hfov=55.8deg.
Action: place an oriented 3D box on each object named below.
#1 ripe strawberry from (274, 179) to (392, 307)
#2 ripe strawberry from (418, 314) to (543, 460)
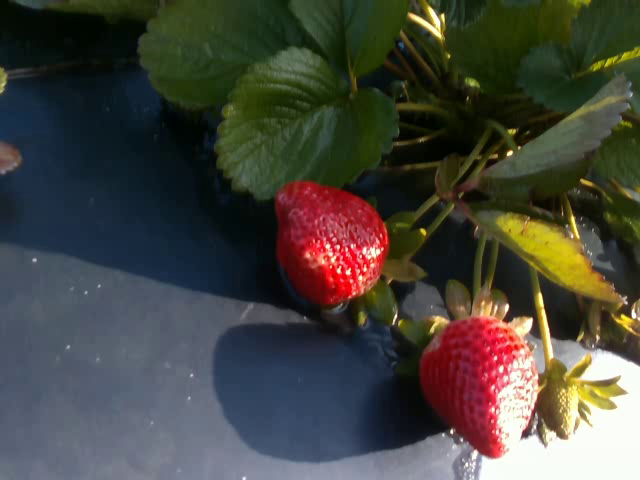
[{"bbox_3d":[0.003,0.001,0.208,0.039,0.048,0.054,-8,-22,37],"label":"ripe strawberry"},{"bbox_3d":[0.052,0.045,0.183,0.043,0.038,0.053,41,22,-14],"label":"ripe strawberry"}]
